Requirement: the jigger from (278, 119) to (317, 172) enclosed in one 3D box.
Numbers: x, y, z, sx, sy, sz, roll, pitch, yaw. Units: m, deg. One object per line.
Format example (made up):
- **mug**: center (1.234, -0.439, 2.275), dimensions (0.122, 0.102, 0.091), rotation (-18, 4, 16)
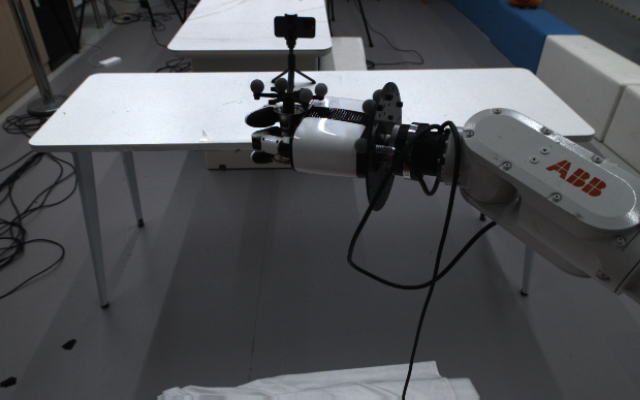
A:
- **jigger**: center (-0.038, -0.087, 0.644), dimensions (0.043, 0.071, 0.043), rotation (3, 25, -1)
